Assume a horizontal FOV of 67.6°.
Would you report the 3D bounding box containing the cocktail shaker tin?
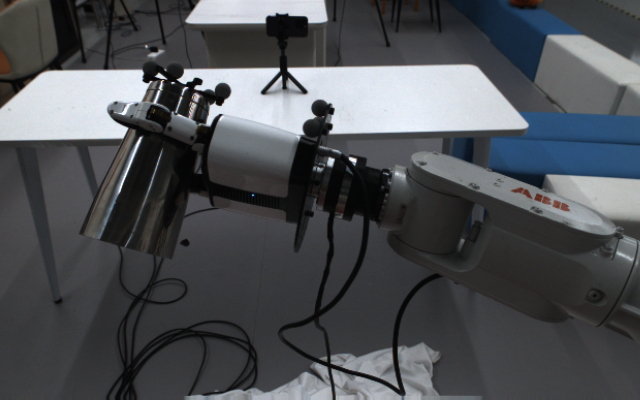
[{"bbox_3d":[-0.169,-0.034,0.504,0.093,0.093,0.170,13,79,15],"label":"cocktail shaker tin"}]
